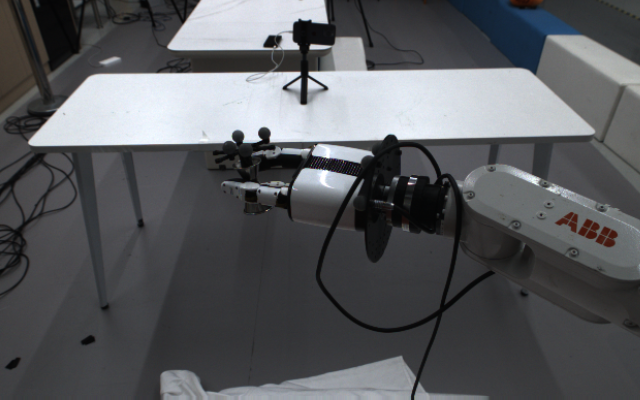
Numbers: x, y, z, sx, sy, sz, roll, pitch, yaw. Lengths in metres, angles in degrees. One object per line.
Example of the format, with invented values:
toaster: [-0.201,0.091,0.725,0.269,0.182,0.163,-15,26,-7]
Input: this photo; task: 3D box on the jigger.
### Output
jigger: [-0.088,-0.021,0.658,0.043,0.071,0.043,-10,24,5]
